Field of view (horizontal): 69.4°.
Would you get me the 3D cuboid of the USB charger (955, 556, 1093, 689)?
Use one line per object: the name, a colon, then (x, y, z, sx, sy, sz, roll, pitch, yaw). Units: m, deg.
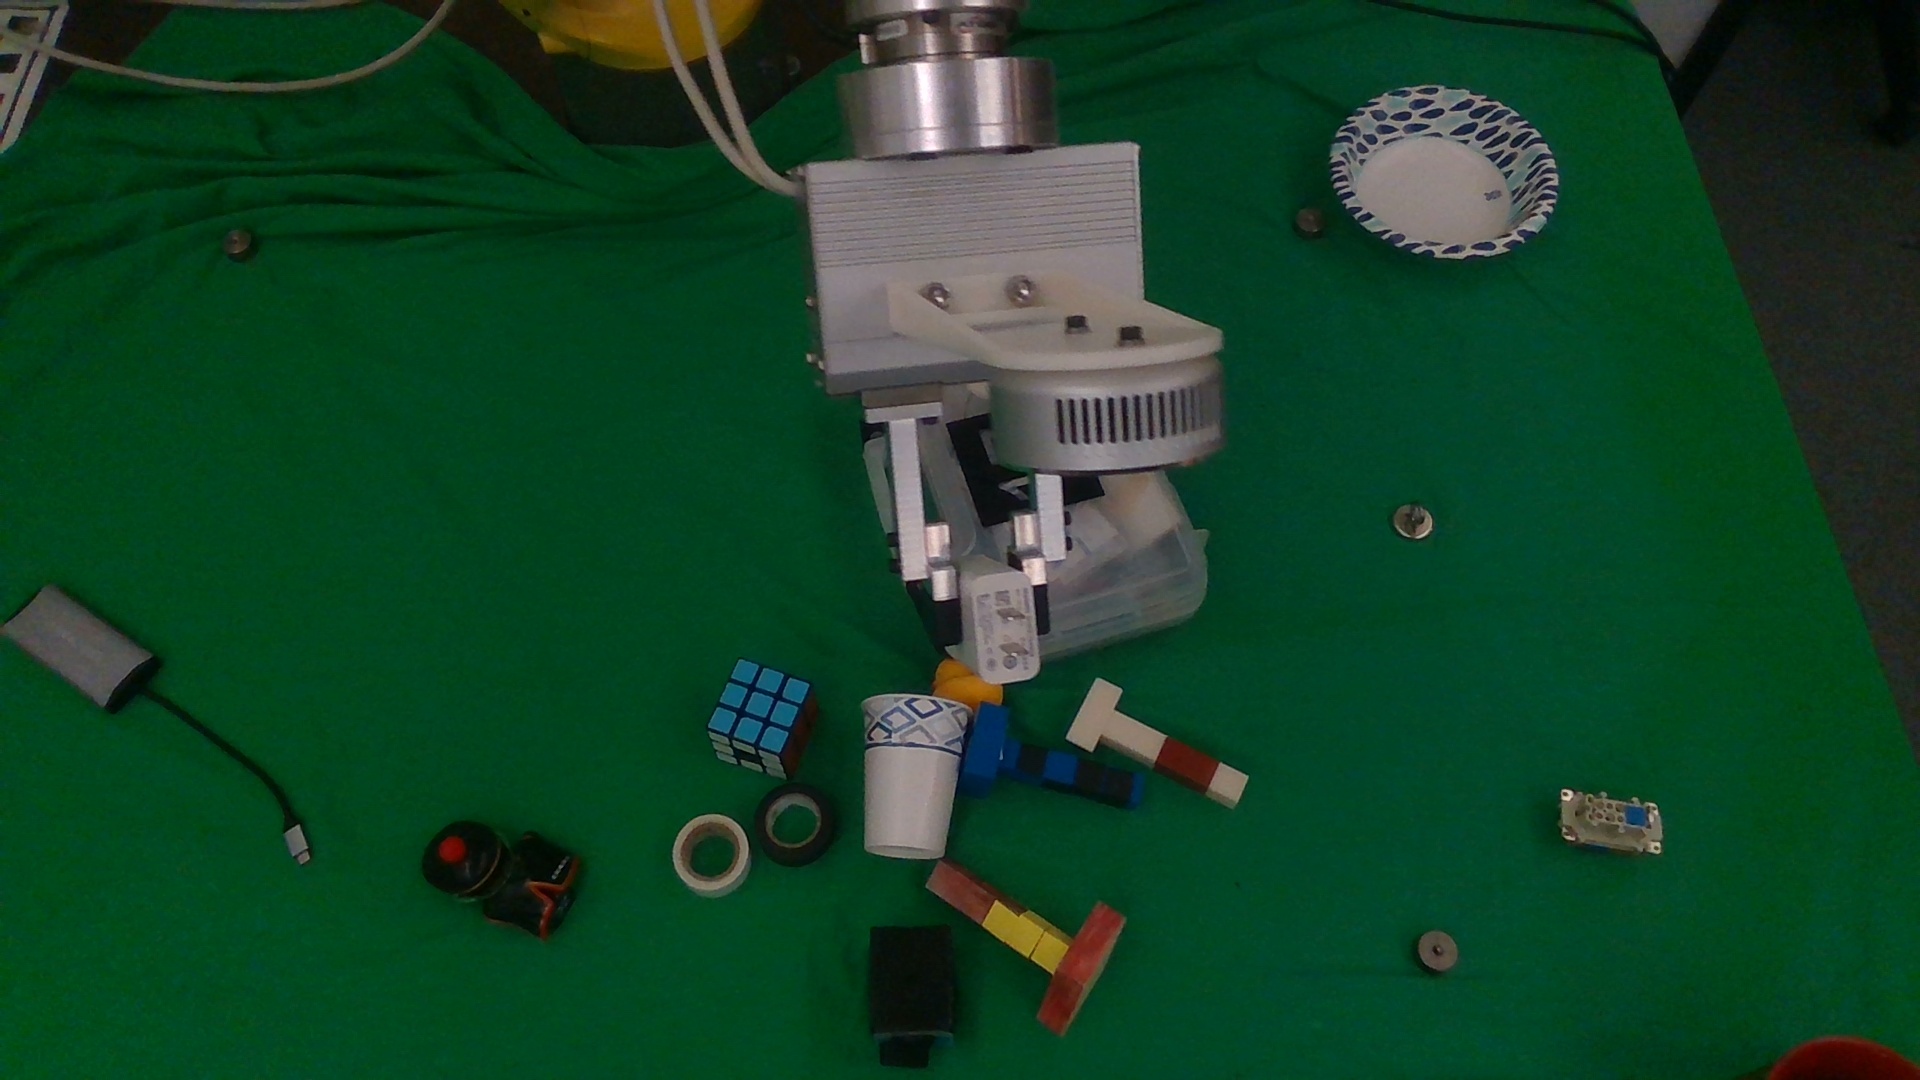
USB charger: (0.024, 0.028, 0.481, 0.029, 0.076, 0.044, -17, 95, -17)

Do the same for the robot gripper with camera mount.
robot gripper with camera mount: (0.030, -0.024, 0.411, 0.119, 0.193, 0.158, -9, 103, -10)
